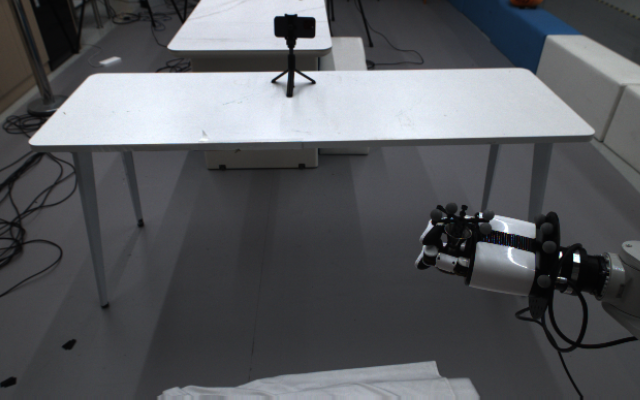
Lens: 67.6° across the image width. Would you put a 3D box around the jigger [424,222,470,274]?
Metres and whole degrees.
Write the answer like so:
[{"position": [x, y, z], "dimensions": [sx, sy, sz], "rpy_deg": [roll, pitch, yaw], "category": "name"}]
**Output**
[{"position": [0.205, 0.071, 0.738], "dimensions": [0.043, 0.071, 0.043], "rpy_deg": [4, 31, -2], "category": "jigger"}]
